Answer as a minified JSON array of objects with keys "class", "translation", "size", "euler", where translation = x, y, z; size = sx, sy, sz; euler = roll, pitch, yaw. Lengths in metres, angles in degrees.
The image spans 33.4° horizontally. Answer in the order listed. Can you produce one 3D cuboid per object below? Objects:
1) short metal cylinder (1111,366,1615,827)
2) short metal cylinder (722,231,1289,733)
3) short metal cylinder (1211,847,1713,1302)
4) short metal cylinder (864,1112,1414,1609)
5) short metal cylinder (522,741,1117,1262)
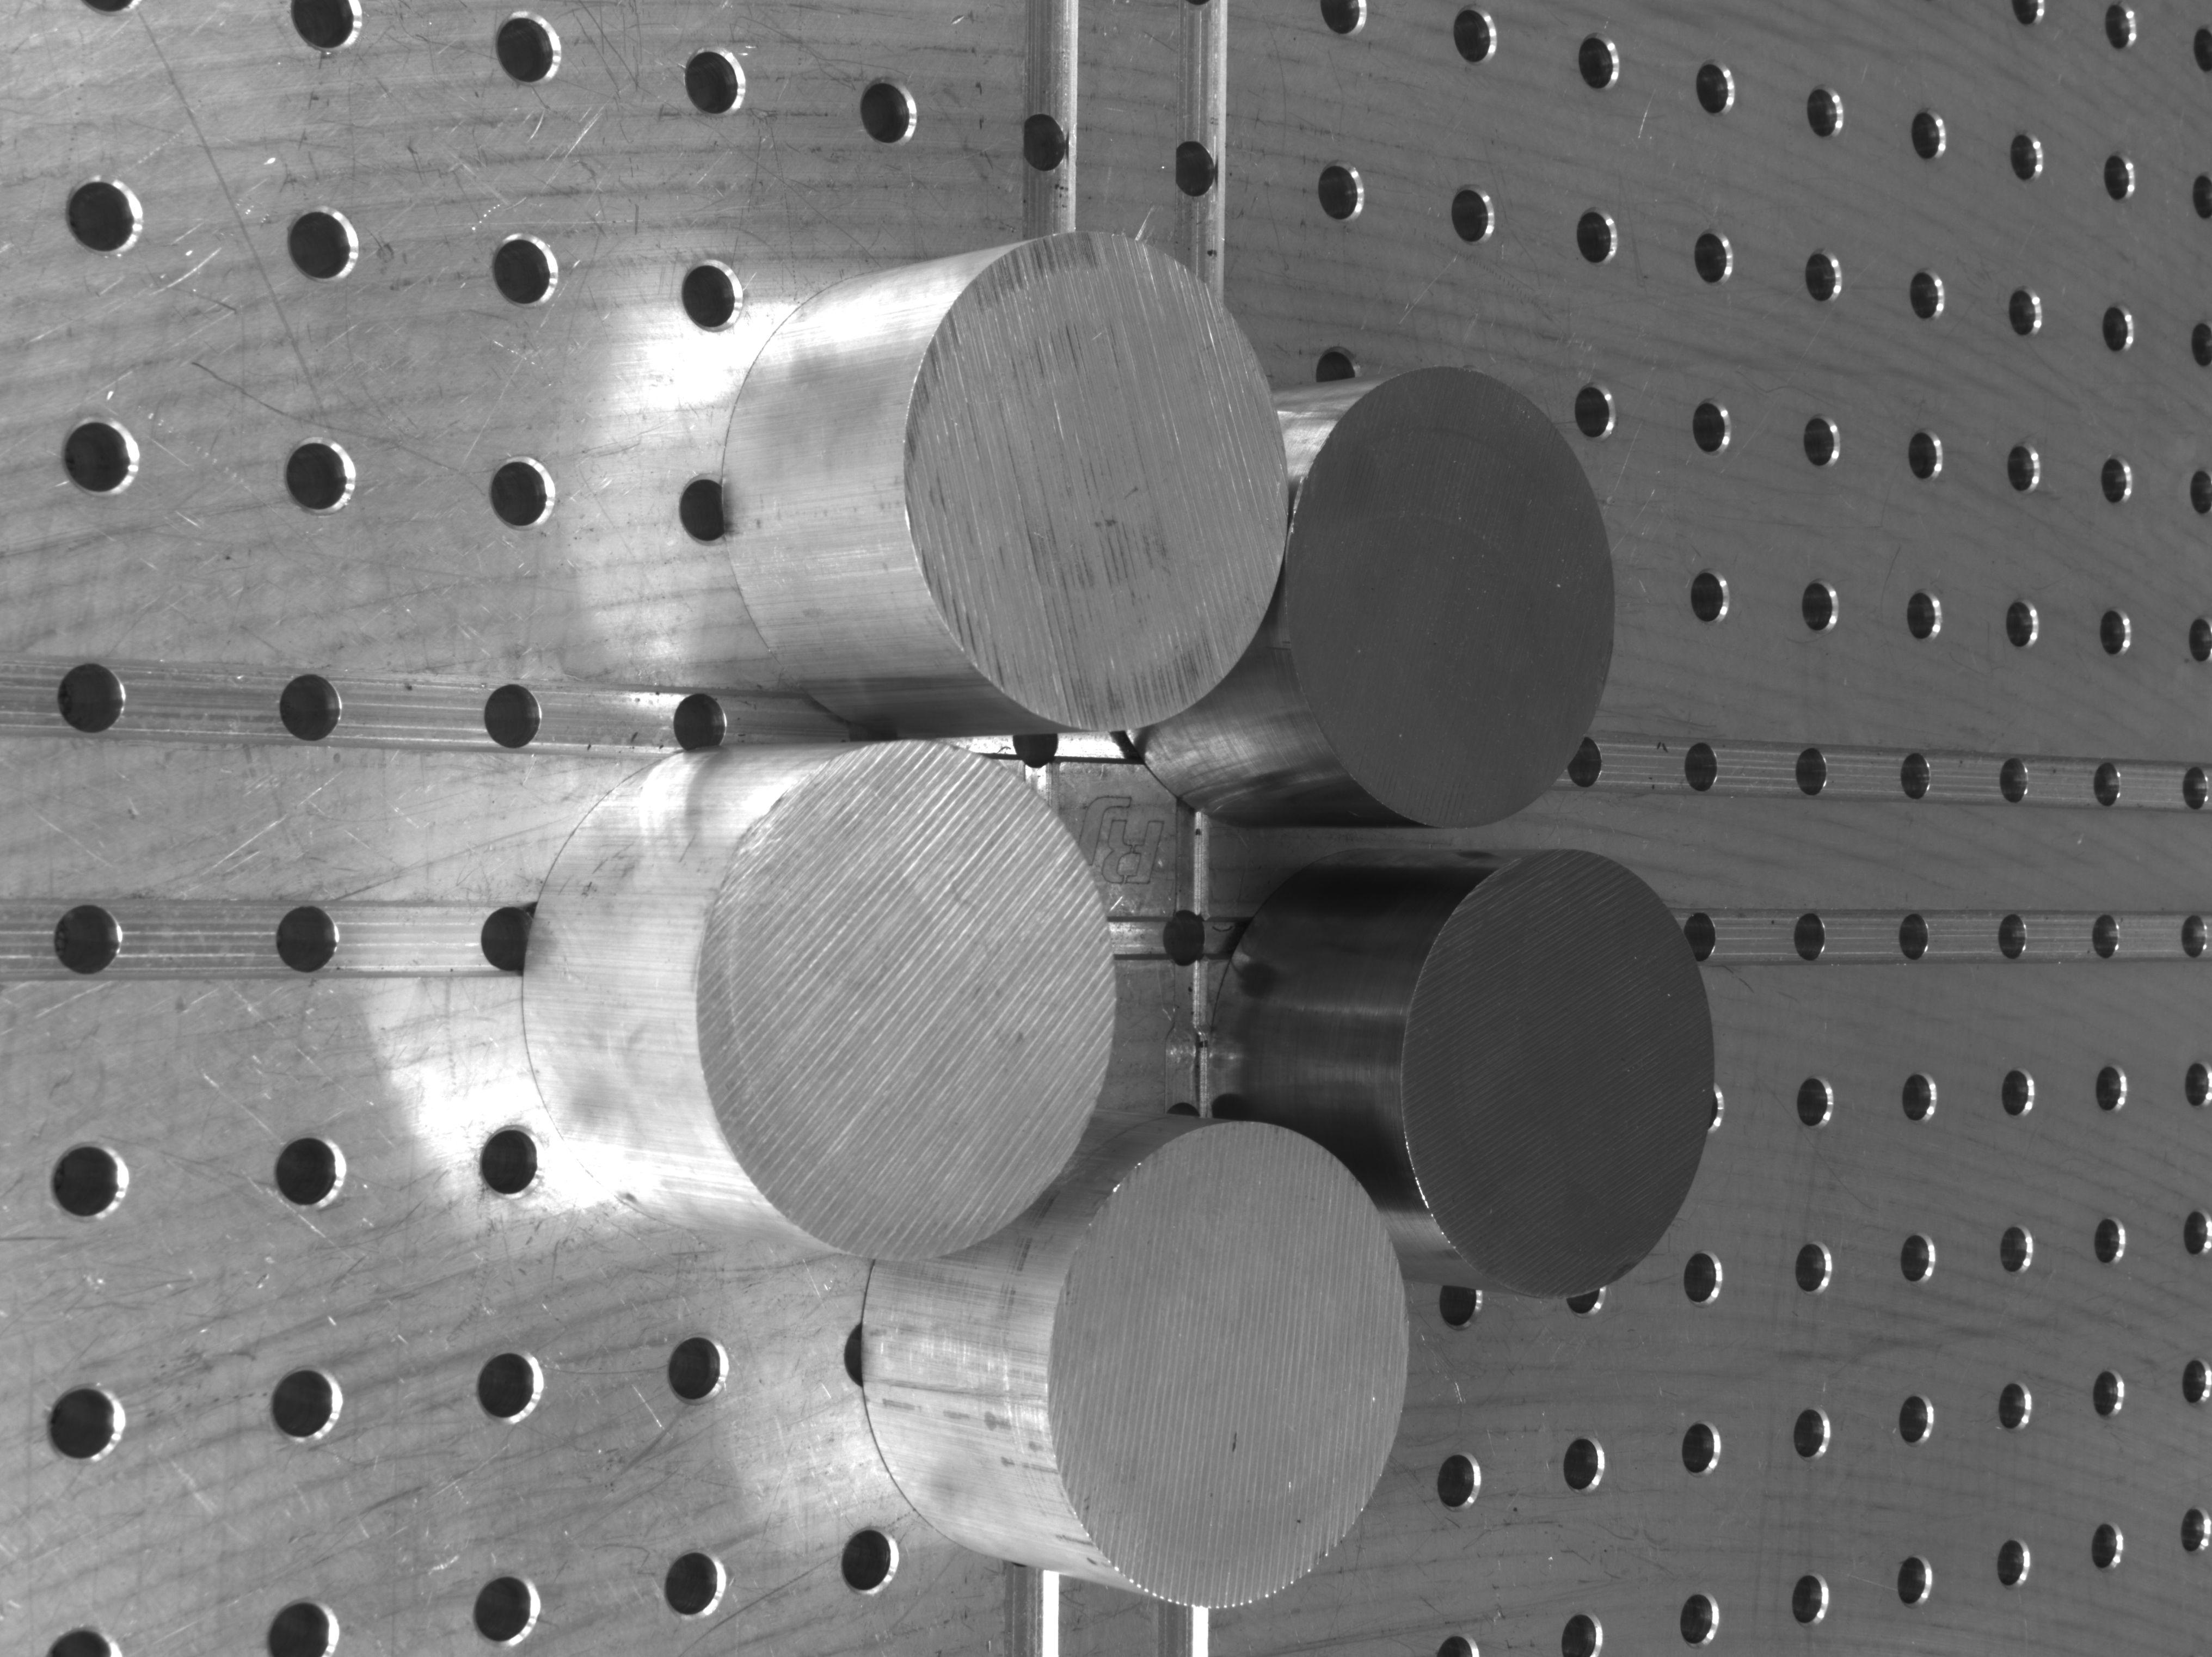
[{"class":"short metal cylinder","translation":[0.045,-0.040,0.660],"size":[0.080,0.050,0.080],"euler":[0,90,-39]},{"class":"short metal cylinder","translation":[-0.016,-0.056,0.610],"size":[0.080,0.050,0.080],"euler":[0,90,-40]},{"class":"short metal cylinder","translation":[0.066,0.044,0.677],"size":[0.080,0.050,0.080],"euler":[-1,92,-40]},{"class":"short metal cylinder","translation":[0.006,0.088,0.627],"size":[0.080,0.050,0.080],"euler":[1,89,-39]},{"class":"short metal cylinder","translation":[-0.045,0.027,0.586],"size":[0.080,0.050,0.080],"euler":[0,90,-40]}]
